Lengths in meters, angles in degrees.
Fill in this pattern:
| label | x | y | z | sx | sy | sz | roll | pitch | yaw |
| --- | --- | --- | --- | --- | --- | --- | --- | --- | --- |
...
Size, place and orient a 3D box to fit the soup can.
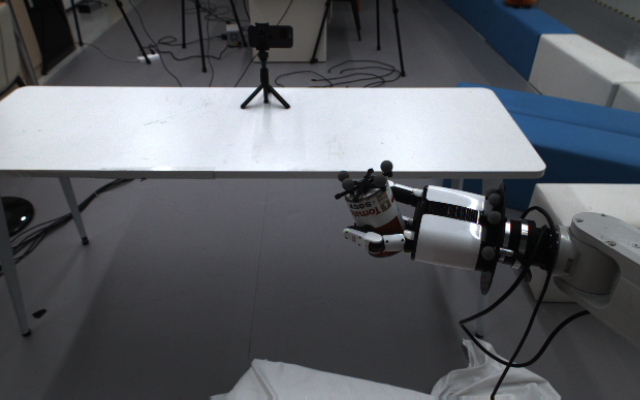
| label | x | y | z | sx | sy | sz | roll | pitch | yaw |
| --- | --- | --- | --- | --- | --- | --- | --- | --- | --- |
| soup can | 0.086 | 0.024 | 0.707 | 0.067 | 0.101 | 0.067 | -21 | 24 | 10 |
